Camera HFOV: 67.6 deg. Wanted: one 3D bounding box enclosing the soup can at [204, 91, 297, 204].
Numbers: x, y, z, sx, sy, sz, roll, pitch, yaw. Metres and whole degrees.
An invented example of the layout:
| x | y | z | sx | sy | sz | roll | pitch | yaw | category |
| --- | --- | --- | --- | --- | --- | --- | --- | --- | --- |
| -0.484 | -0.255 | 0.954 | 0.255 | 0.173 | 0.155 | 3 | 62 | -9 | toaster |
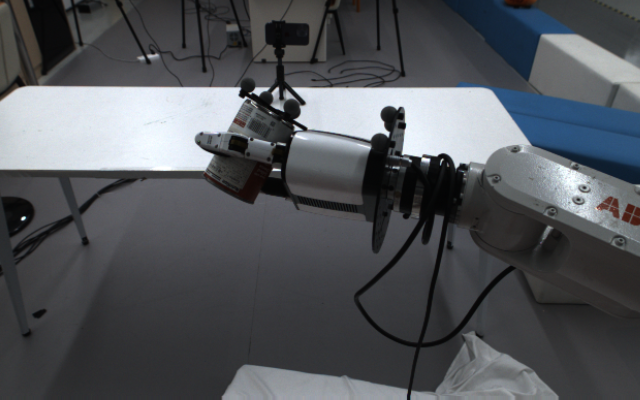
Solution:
| x | y | z | sx | sy | sz | roll | pitch | yaw | category |
| --- | --- | --- | --- | --- | --- | --- | --- | --- | --- |
| -0.081 | -0.055 | 0.559 | 0.067 | 0.101 | 0.067 | 30 | 2 | -1 | soup can |
